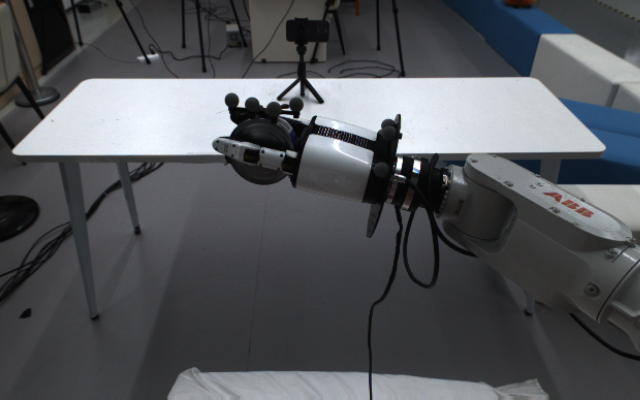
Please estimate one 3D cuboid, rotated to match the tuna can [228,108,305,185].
[{"bbox_3d":[-0.069,-0.064,0.610,0.085,0.085,0.034,6,23,6],"label":"tuna can"}]
